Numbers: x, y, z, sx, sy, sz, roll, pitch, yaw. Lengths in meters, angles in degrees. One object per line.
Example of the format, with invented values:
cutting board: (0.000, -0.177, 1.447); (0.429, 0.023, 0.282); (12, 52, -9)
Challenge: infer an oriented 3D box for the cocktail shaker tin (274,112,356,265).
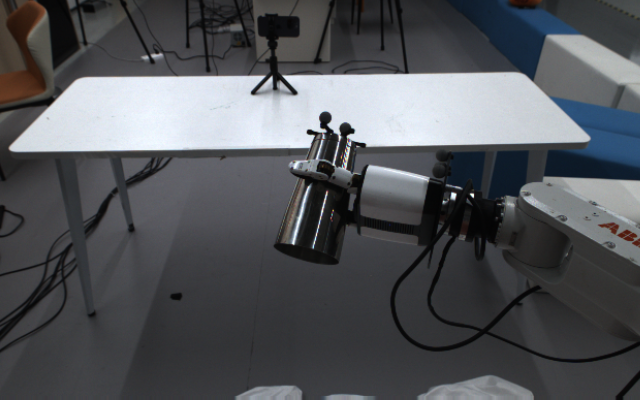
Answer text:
cocktail shaker tin: (0.002, -0.004, 0.676); (0.093, 0.093, 0.170); (11, 71, 12)
